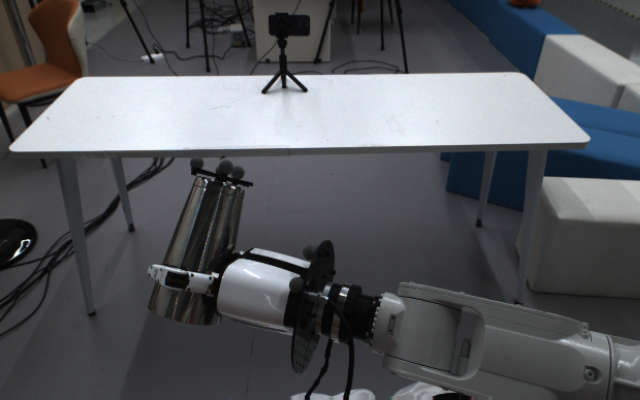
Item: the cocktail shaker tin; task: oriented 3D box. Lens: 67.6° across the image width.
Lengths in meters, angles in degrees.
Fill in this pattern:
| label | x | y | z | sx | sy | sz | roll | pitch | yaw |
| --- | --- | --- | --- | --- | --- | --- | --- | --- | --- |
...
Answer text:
| label | x | y | z | sx | sy | sz | roll | pitch | yaw |
| --- | --- | --- | --- | --- | --- | --- | --- | --- | --- |
| cocktail shaker tin | -0.148 | 0.062 | 0.612 | 0.093 | 0.170 | 0.093 | 14 | -4 | 1 |
